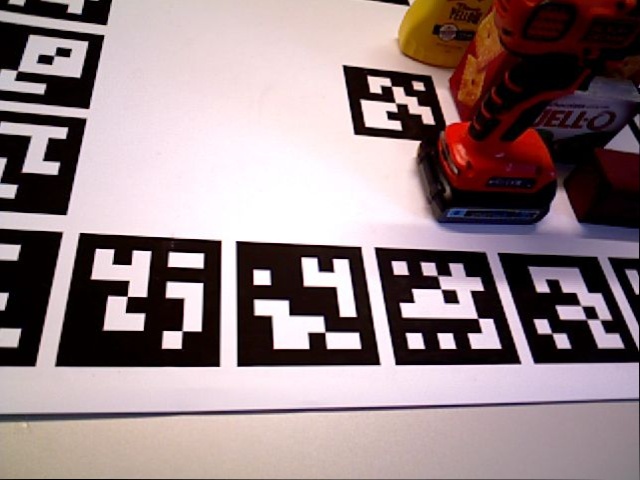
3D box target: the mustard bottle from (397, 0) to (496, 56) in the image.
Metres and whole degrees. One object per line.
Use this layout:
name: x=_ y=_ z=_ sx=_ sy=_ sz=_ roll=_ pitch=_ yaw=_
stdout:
mustard bottle: x=0.149 y=-0.276 z=0.525 sx=0.095 sy=0.196 sz=0.057 roll=14 pitch=56 yaw=-6

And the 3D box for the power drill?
power drill: x=0.191 y=-0.109 z=0.403 sx=0.182 sy=0.191 sz=0.056 roll=2 pitch=54 yaw=-15

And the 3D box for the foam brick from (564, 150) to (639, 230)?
foam brick: x=0.283 y=-0.046 z=0.513 sx=0.077 sy=0.052 sz=0.052 roll=4 pitch=59 yaw=-12

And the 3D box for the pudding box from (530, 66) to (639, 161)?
pudding box: x=0.229 y=-0.120 z=0.506 sx=0.113 sy=0.092 sz=0.038 roll=2 pitch=56 yaw=-10

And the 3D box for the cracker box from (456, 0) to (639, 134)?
cracker box: x=0.244 y=-0.190 z=0.487 sx=0.162 sy=0.219 sz=0.071 roll=0 pitch=56 yaw=-13
